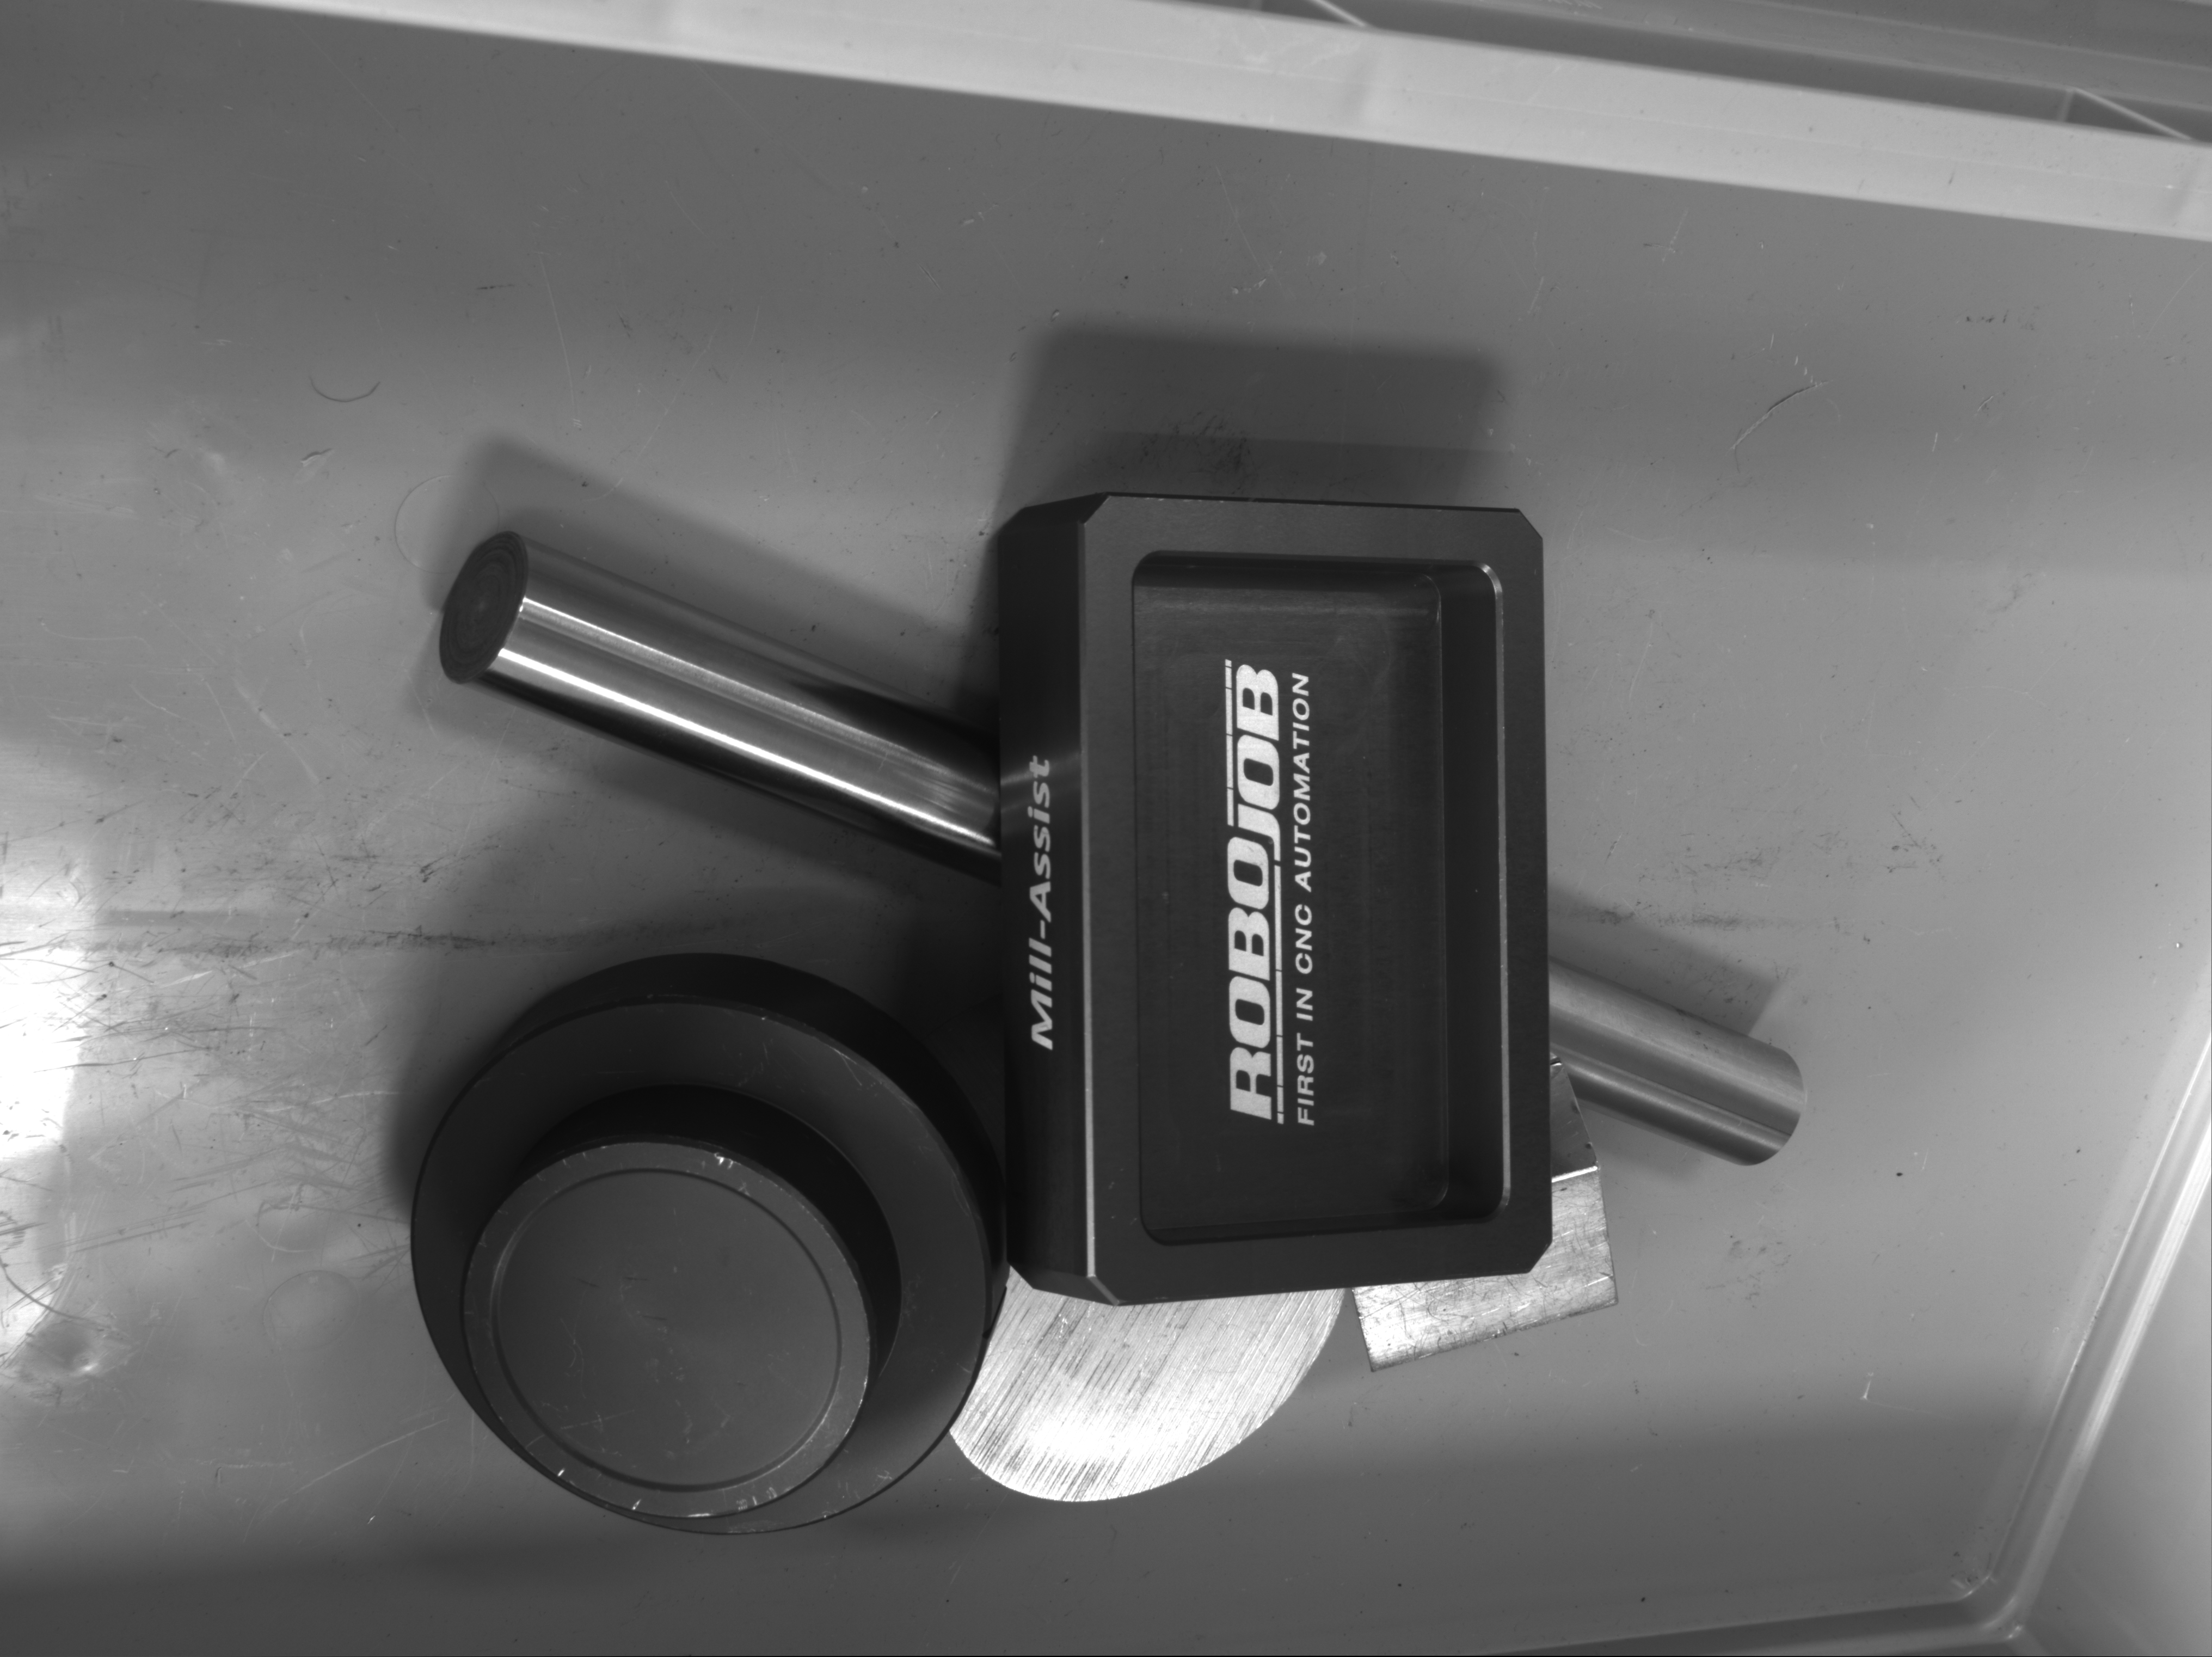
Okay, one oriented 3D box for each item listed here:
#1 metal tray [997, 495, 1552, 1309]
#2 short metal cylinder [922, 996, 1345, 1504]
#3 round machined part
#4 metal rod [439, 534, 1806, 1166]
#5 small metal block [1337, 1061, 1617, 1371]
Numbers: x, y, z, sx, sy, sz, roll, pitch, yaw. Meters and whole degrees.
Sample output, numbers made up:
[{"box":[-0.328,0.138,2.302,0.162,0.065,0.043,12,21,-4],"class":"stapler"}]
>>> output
[{"box":[0.029,0.012,0.618,0.090,0.030,0.130,-1,90,-29],"class":"metal tray"},{"box":[-0.003,0.074,0.663,0.080,0.050,0.080,-13,124,-21],"class":"short metal cylinder"},{"box":[-0.067,0.074,0.604,0.098,0.042,0.098,2,109,6],"class":"round machined part"},{"box":[0.018,0.011,0.652,0.301,0.025,0.025,21,107,-36],"class":"metal rod"},{"box":[0.069,0.075,0.704,0.050,0.025,0.050,-16,142,0],"class":"small metal block"}]
